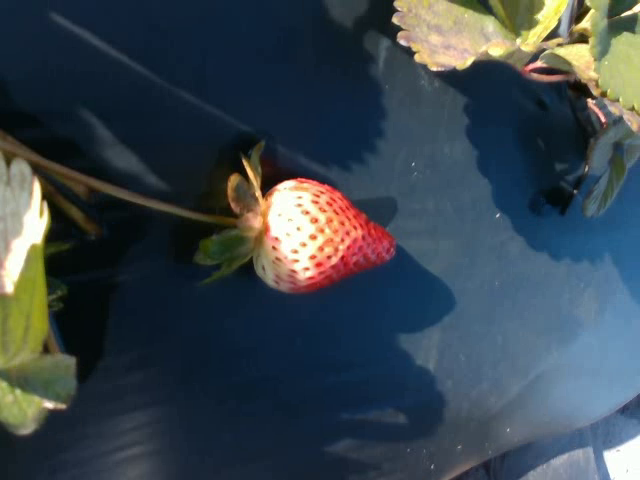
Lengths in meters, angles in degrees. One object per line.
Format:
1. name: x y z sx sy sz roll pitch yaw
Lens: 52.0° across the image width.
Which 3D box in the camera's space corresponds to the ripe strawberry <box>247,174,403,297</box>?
1. ripe strawberry: 0.005 0.000 0.199 0.063 0.044 0.044 4 -26 -27
